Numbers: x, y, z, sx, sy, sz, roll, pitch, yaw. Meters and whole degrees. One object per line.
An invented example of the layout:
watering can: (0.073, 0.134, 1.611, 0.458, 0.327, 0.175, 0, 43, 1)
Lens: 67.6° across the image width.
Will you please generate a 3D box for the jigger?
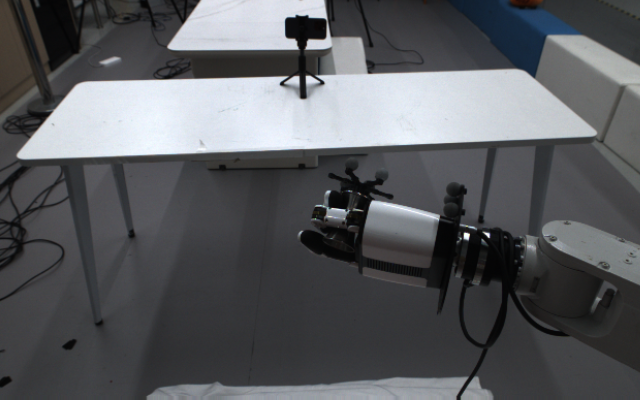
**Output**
jigger: (0.035, 0.024, 0.612, 0.043, 0.043, 0.071, 16, 70, 19)
